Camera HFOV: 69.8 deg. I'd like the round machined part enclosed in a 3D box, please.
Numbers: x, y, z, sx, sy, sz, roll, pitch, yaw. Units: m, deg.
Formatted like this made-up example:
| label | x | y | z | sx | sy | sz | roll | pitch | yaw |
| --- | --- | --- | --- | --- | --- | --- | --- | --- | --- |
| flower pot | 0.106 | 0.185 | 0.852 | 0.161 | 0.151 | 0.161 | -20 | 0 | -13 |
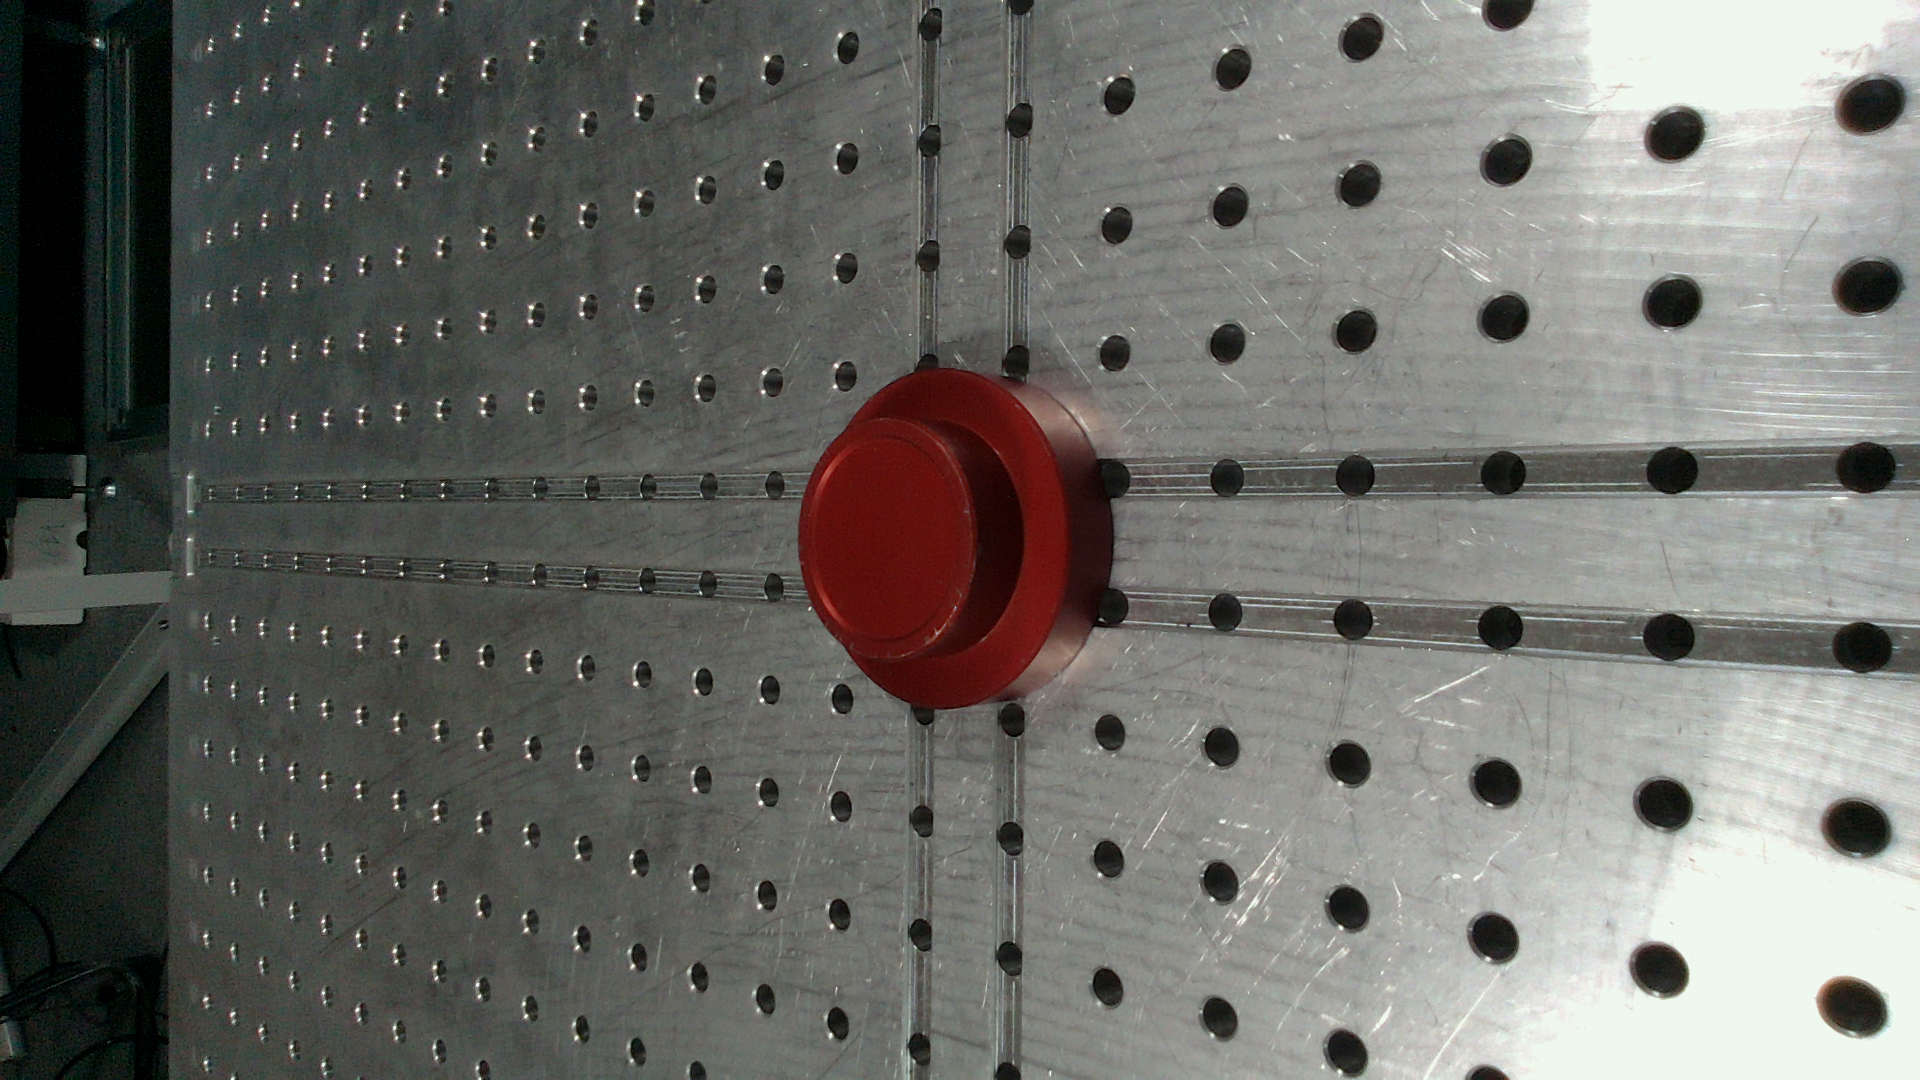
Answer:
| label | x | y | z | sx | sy | sz | roll | pitch | yaw |
| --- | --- | --- | --- | --- | --- | --- | --- | --- | --- |
| round machined part | -0.009 | -0.001 | 0.394 | 0.098 | 0.042 | 0.098 | 0 | 90 | 40 |
